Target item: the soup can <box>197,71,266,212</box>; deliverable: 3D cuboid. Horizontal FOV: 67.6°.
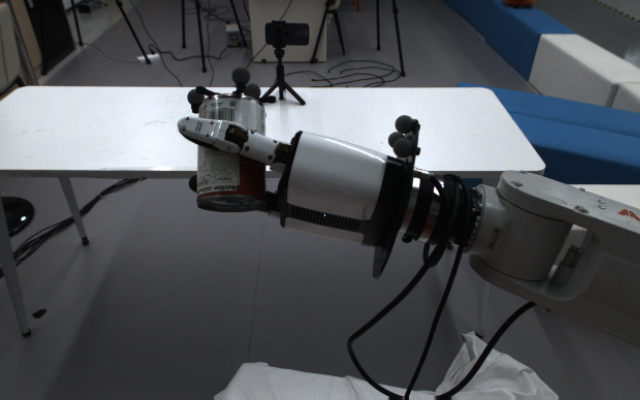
[{"bbox_3d":[-0.087,-0.045,0.476,0.067,0.067,0.101,0,76,-3],"label":"soup can"}]
